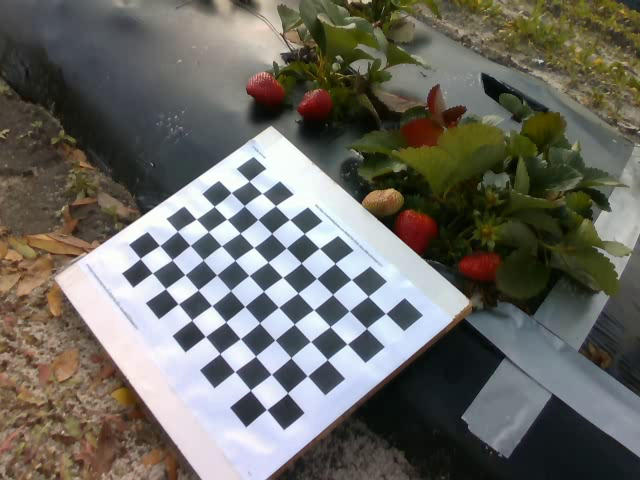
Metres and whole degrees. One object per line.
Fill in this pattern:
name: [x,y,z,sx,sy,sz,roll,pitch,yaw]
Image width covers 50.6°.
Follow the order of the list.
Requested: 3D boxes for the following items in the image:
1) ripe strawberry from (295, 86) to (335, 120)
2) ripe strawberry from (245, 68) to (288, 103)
ripe strawberry: [-0.006,-0.172,0.823,0.042,0.034,0.053,25,30,25]
ripe strawberry: [-0.069,-0.190,0.835,0.050,0.045,0.061,30,29,28]
